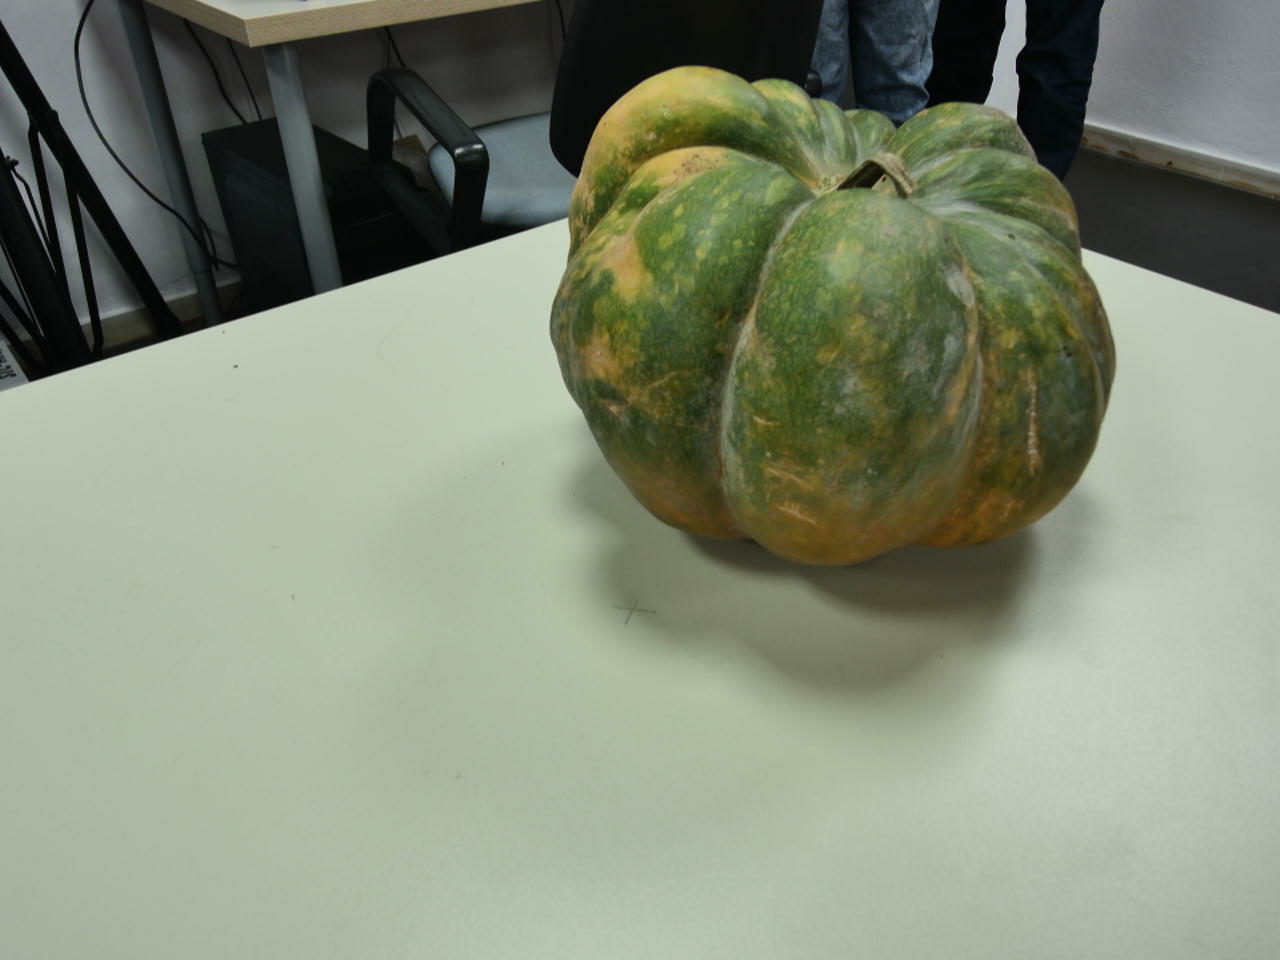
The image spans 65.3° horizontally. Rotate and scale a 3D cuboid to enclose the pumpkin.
[{"bbox_3d":[0.082,-0.076,0.437,0.237,0.173,0.270,0,35,0],"label":"pumpkin"}]
